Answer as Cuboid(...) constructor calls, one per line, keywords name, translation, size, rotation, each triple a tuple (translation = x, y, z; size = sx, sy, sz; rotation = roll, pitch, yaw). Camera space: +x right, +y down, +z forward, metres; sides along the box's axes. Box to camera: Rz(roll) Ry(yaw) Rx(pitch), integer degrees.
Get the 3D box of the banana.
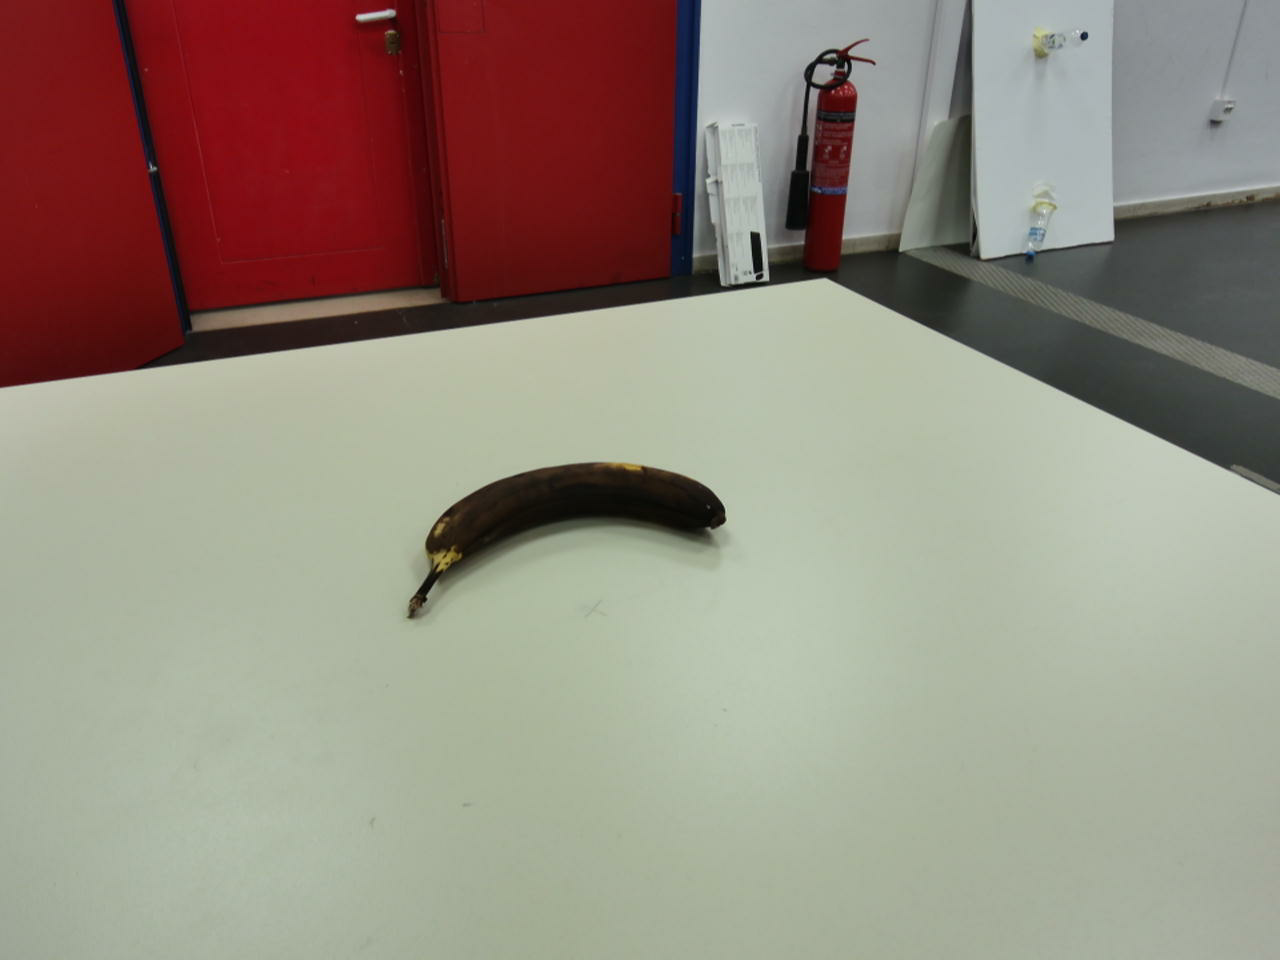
Cuboid(name="banana", translation=(-0.049, 0.020, 0.572), size=(0.188, 0.034, 0.091), rotation=(-11, 28, -21))
